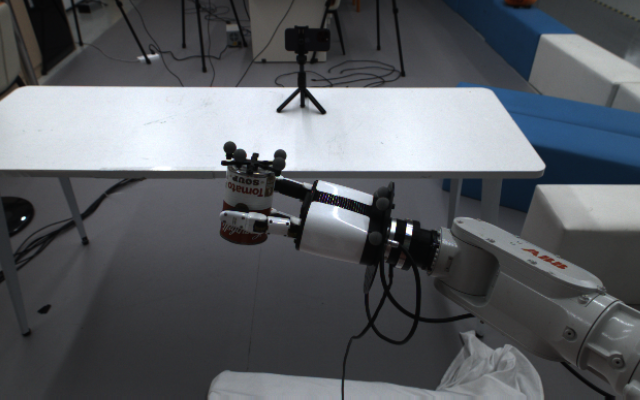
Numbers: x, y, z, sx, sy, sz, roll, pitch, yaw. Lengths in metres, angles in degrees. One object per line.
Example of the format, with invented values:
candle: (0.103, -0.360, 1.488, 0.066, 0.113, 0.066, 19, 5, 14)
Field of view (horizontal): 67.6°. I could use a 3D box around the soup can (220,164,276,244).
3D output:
soup can: (-0.098, 0.003, 0.665, 0.067, 0.101, 0.067, 9, 20, -3)
